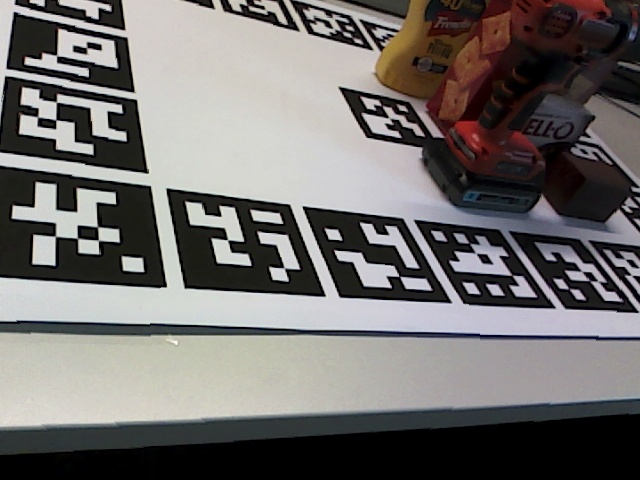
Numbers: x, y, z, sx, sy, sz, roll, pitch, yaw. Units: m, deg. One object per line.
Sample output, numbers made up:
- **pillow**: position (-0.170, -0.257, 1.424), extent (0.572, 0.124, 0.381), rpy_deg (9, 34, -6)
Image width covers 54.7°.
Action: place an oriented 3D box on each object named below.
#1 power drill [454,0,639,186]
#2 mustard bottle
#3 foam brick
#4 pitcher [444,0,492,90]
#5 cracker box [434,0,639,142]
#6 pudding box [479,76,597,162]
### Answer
- **power drill**: position (0.229, -0.141, 0.593), extent (0.183, 0.187, 0.058), rpy_deg (4, 41, -29)
- **mustard bottle**: position (0.146, -0.279, 0.737), extent (0.096, 0.191, 0.058), rpy_deg (14, 41, -17)
- **foam brick**: position (0.297, -0.061, 0.708), extent (0.077, 0.051, 0.053), rpy_deg (6, 45, -26)
- **pitcher**: position (0.268, -0.279, 0.790), extent (0.188, 0.242, 0.134), rpy_deg (7, 43, -21)
- **cracker box**: position (0.253, -0.205, 0.706), extent (0.163, 0.213, 0.072), rpy_deg (1, 44, -27)
- **pudding box**: position (0.241, -0.133, 0.704), extent (0.113, 0.090, 0.039), rpy_deg (3, 43, -24)
